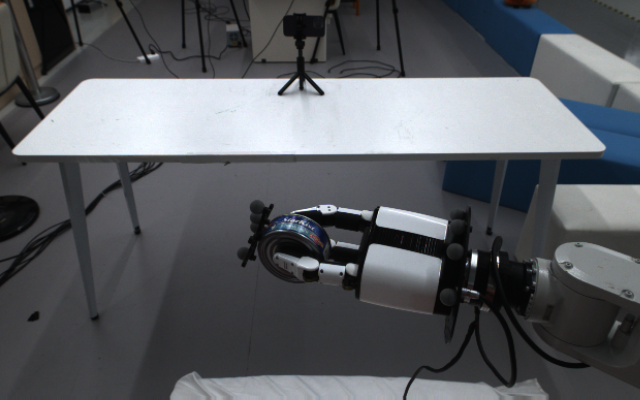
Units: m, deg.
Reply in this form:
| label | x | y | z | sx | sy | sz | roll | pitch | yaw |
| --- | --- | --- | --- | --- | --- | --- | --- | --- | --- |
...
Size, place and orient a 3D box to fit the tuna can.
| label | x | y | z | sx | sy | sz | roll | pitch | yaw |
| --- | --- | --- | --- | --- | --- | --- | --- | --- | --- |
| tuna can | -0.028 | 0.065 | 0.588 | 0.085 | 0.085 | 0.034 | 9 | 35 | 10 |
